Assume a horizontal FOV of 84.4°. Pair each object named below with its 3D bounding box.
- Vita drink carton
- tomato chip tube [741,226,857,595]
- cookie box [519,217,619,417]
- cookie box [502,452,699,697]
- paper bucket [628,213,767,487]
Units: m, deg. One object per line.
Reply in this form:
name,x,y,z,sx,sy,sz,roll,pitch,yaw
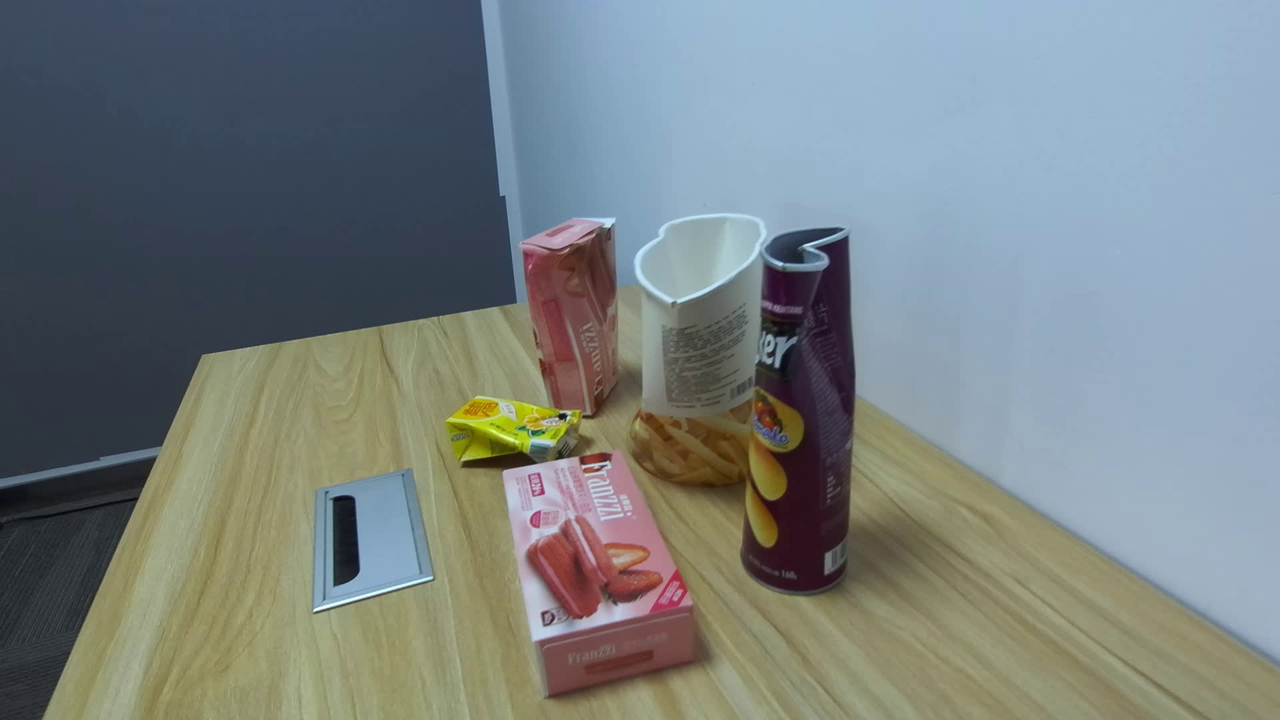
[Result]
Vita drink carton,-0.113,0.069,0.654,0.108,0.042,0.087,7,19,13
tomato chip tube,0.108,0.038,0.462,0.078,0.235,0.076,-7,25,-10
cookie box,-0.062,-0.042,0.718,0.055,0.184,0.119,6,26,21
cookie box,-0.037,0.135,0.492,0.096,0.048,0.184,-8,24,-14
paper bucket,0.057,-0.011,0.612,0.148,0.199,0.217,-10,25,-13
